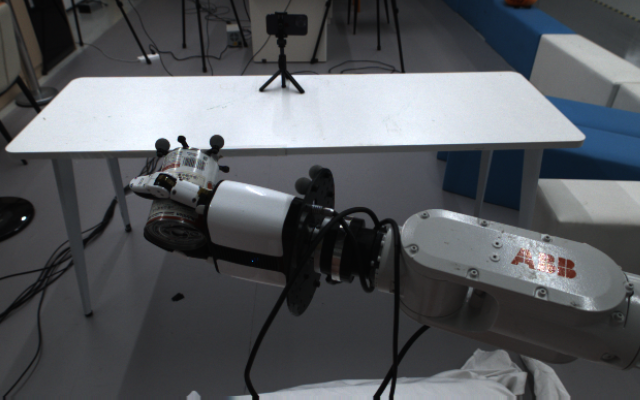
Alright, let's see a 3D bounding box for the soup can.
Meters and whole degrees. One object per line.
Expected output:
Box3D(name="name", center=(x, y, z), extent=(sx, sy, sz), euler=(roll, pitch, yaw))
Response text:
Box3D(name="soup can", center=(-0.156, -0.001, 0.560), extent=(0.067, 0.067, 0.101), euler=(3, 59, 1))
